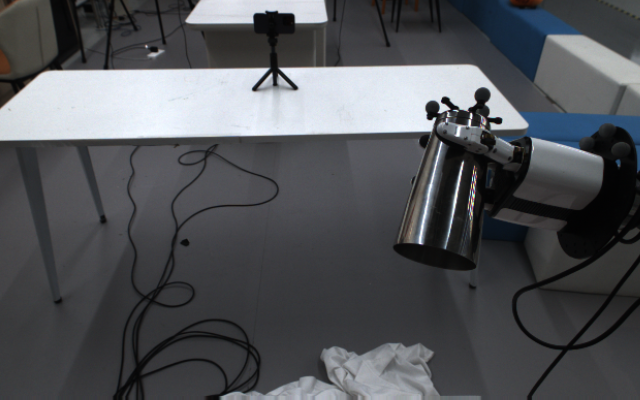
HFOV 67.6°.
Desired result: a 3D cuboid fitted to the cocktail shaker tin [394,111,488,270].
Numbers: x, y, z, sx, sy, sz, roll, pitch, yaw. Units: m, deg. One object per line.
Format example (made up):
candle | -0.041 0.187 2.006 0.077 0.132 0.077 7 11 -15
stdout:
cocktail shaker tin | 0.151 -0.017 0.560 0.093 0.093 0.170 12 72 14
